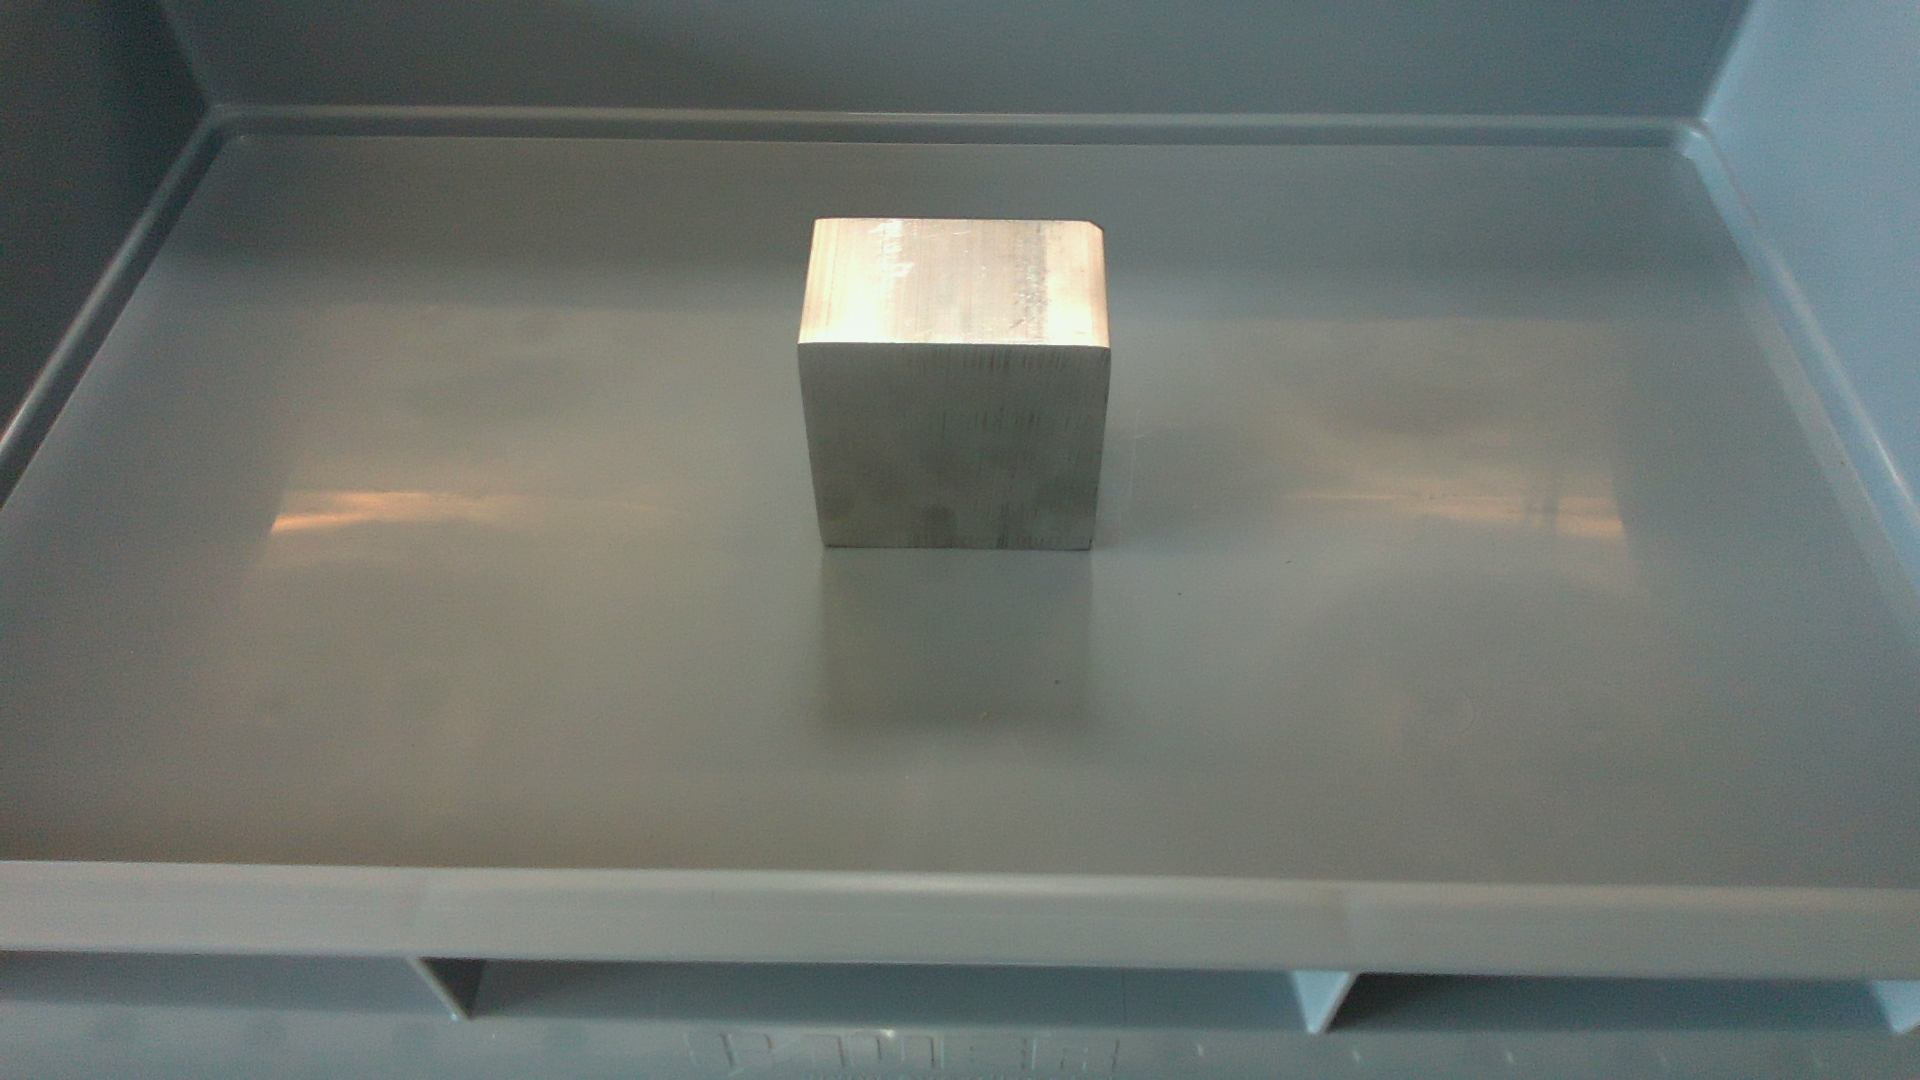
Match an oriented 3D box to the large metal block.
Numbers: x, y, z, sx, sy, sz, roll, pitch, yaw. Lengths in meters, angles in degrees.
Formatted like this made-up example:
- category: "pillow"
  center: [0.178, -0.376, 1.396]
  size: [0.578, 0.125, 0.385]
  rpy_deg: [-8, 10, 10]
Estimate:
- category: "large metal block"
  center: [-0.001, -0.043, 0.389]
  size: [0.080, 0.080, 0.050]
  rpy_deg: [1, 50, 1]
